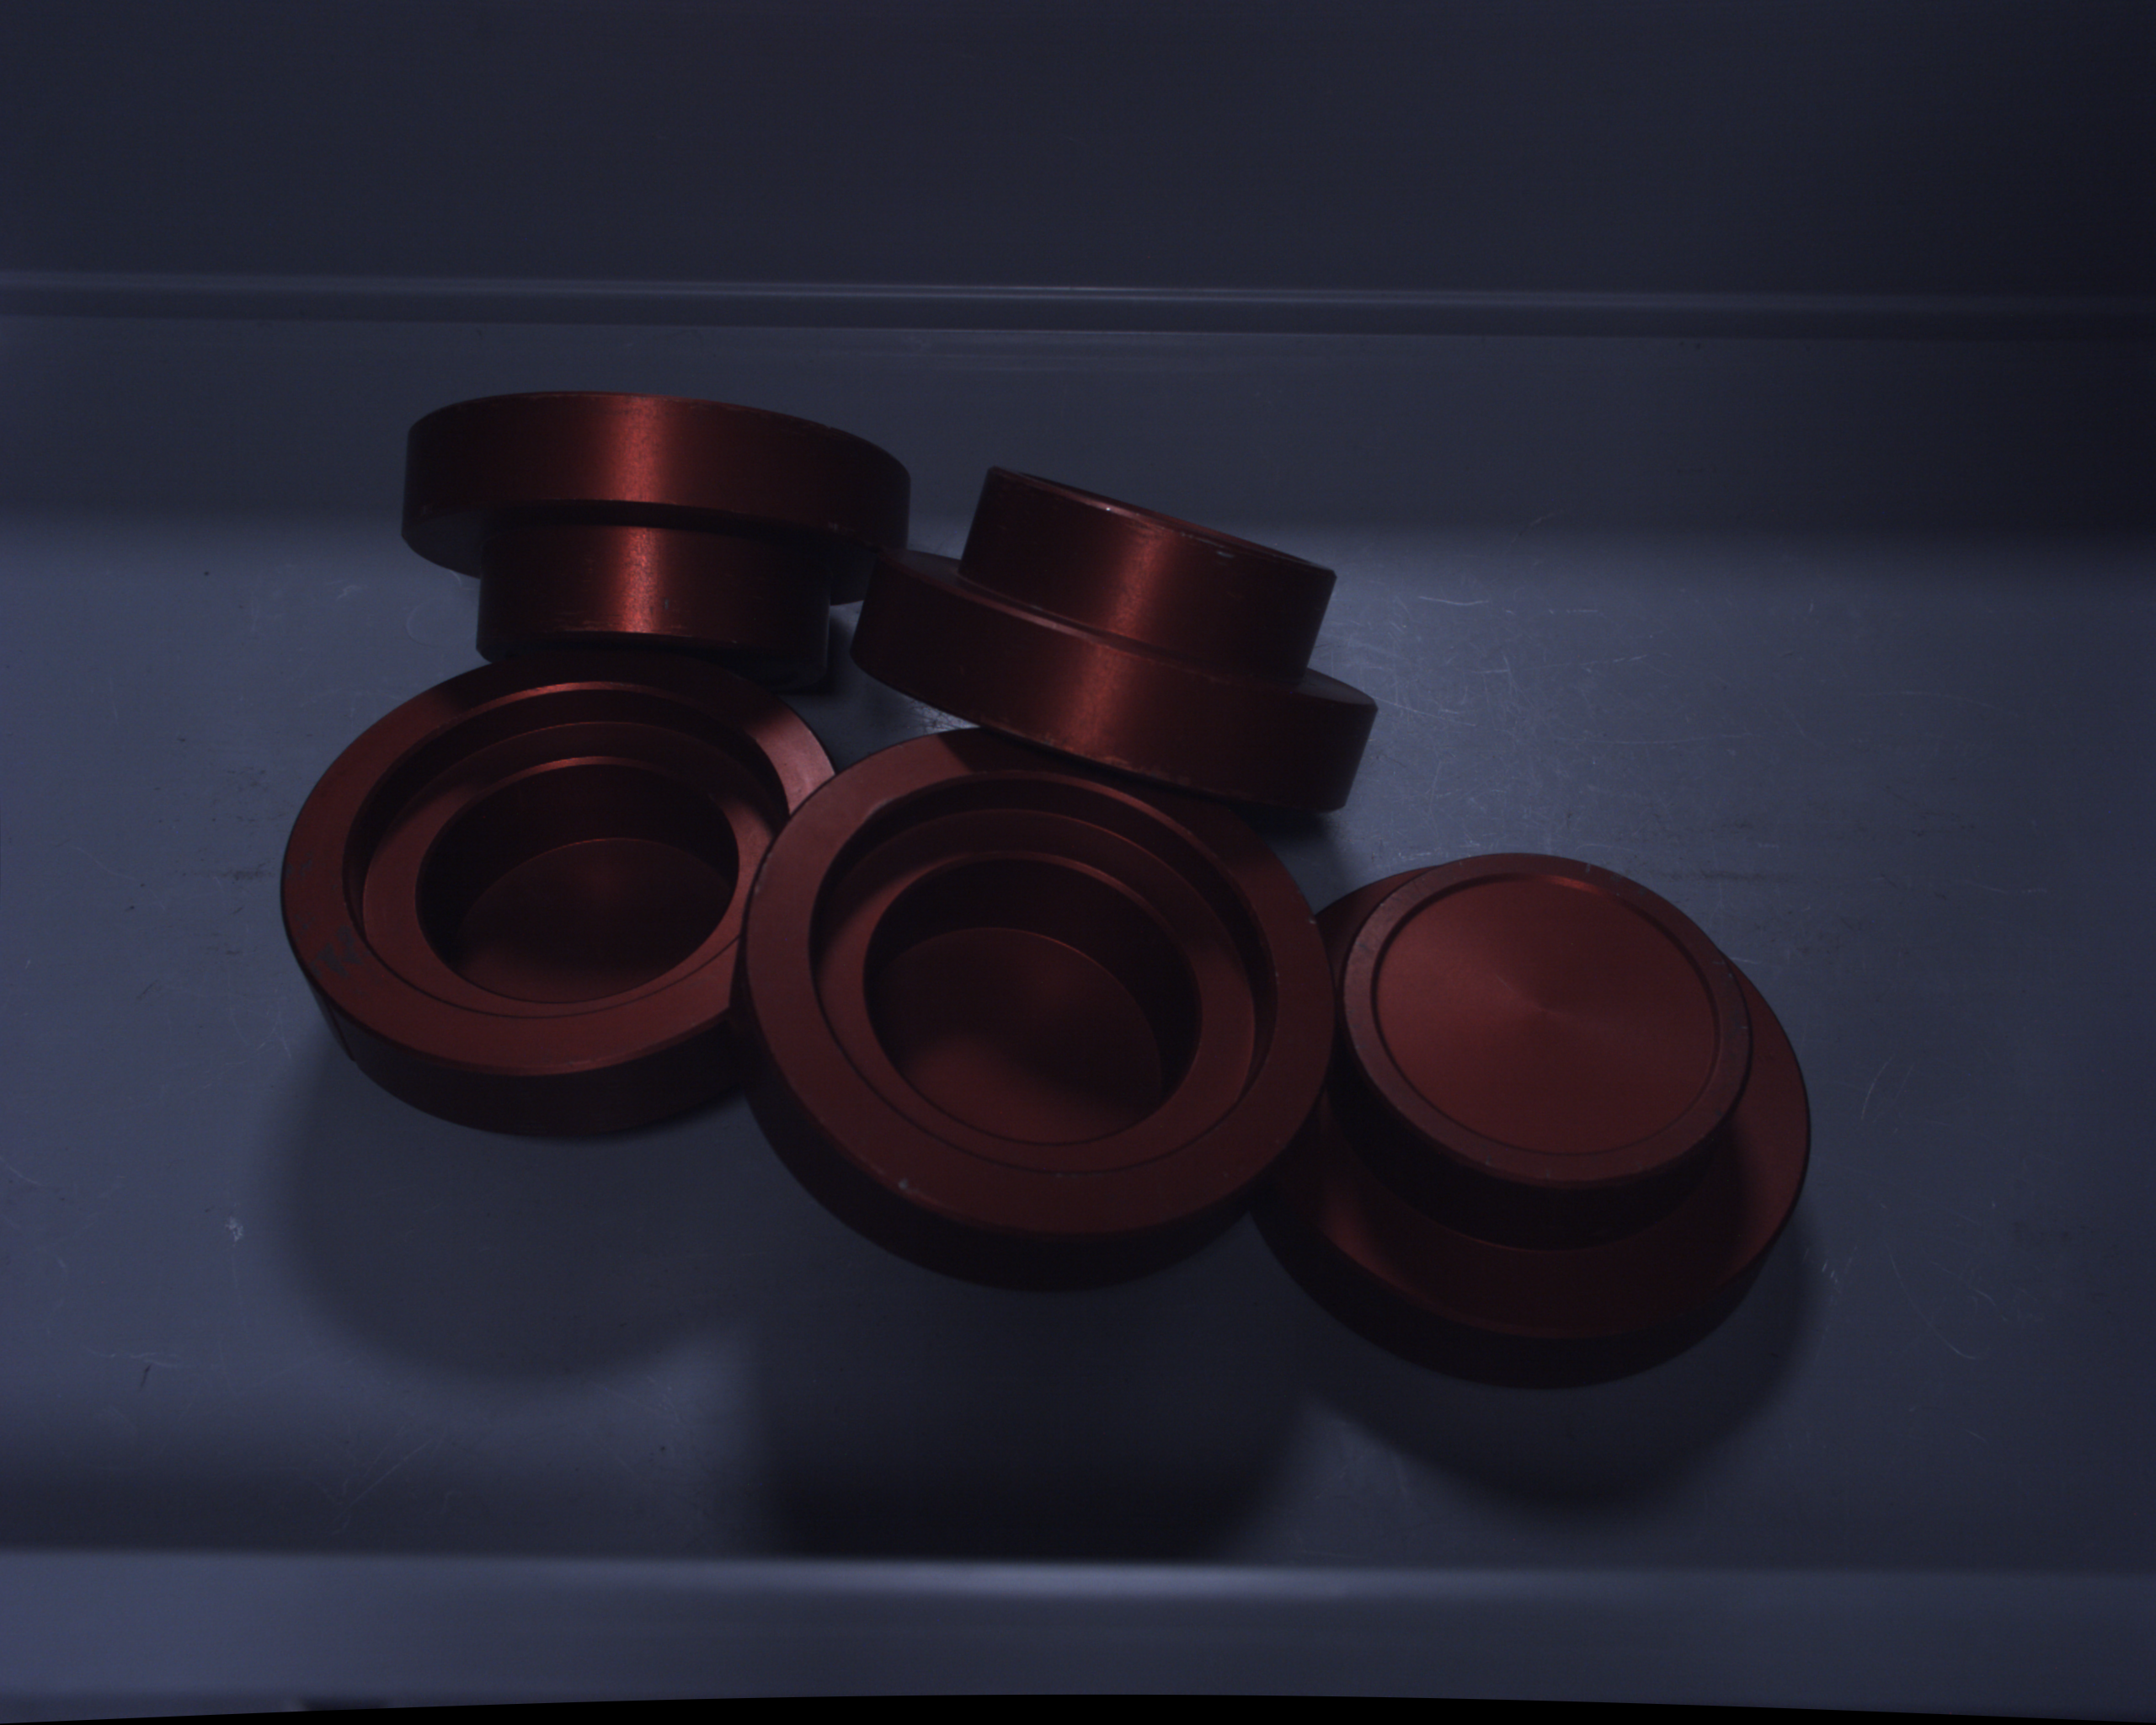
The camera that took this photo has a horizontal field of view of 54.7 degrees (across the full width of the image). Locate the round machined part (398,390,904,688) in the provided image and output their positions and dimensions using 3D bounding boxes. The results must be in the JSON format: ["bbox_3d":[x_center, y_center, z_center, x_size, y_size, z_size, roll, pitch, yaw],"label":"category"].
[{"bbox_3d":[-0.085,-0.060,0.418,0.099,0.098,0.042,2,86,1],"label":"round machined part"}]

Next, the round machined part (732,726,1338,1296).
[{"bbox_3d":[-0.009,0.028,0.353,0.099,0.042,0.098,8,55,-11],"label":"round machined part"}]

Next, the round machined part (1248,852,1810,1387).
[{"bbox_3d":[0.077,0.037,0.361,0.099,0.042,0.098,0,50,0],"label":"round machined part"}]

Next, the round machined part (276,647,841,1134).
[{"bbox_3d":[-0.090,0.009,0.382,0.099,0.042,0.098,0,50,0],"label":"round machined part"}]

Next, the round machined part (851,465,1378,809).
[{"bbox_3d":[0.010,-0.045,0.395,0.099,0.042,0.098,16,10,-3],"label":"round machined part"}]
